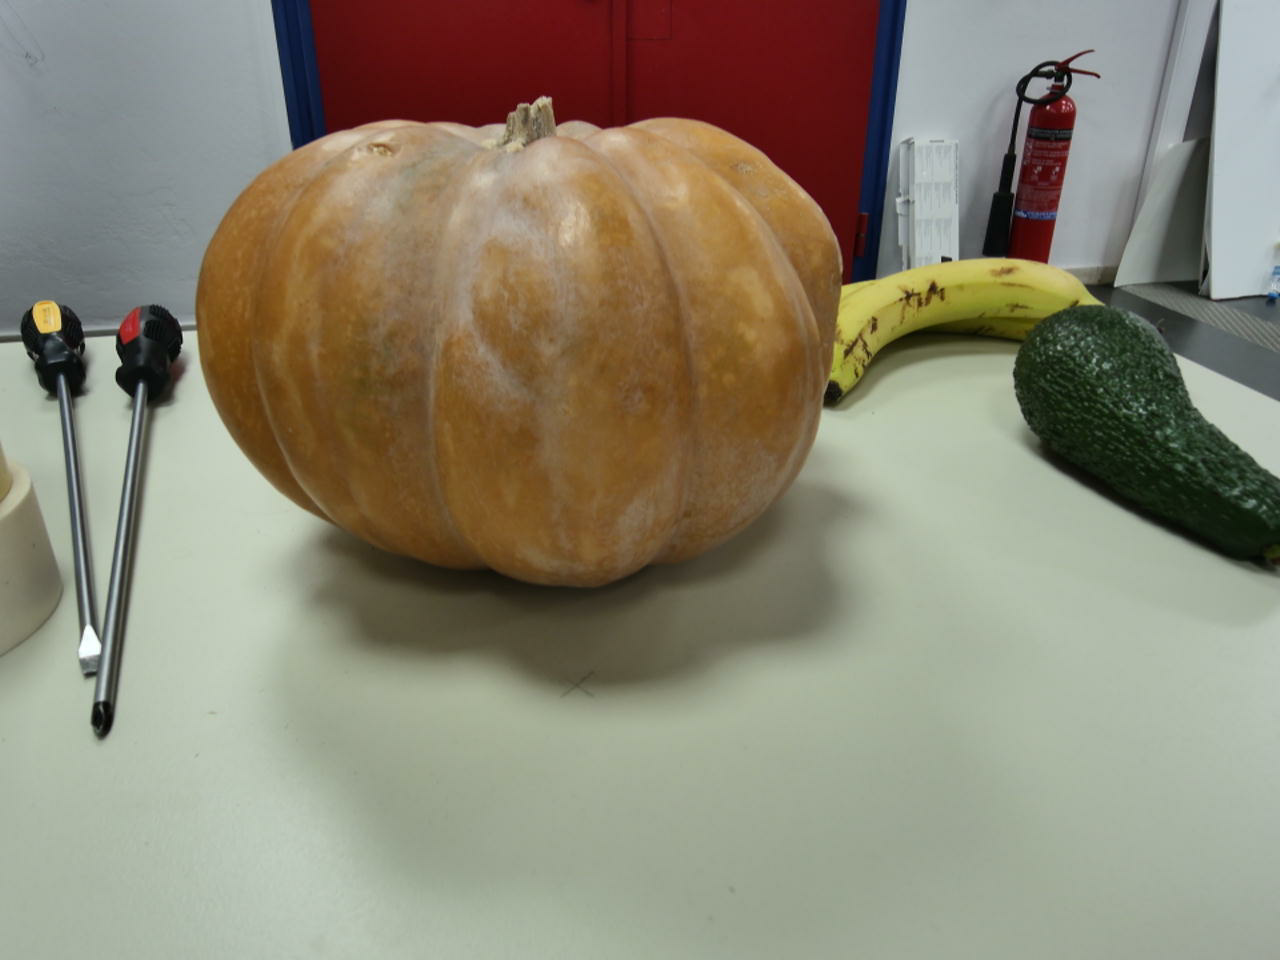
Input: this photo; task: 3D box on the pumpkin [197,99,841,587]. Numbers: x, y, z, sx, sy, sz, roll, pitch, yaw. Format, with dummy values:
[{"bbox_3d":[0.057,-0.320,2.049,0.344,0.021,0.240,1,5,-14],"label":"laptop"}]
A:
[{"bbox_3d":[-0.044,-0.065,0.427,0.277,0.181,0.277,0,25,0],"label":"pumpkin"}]
